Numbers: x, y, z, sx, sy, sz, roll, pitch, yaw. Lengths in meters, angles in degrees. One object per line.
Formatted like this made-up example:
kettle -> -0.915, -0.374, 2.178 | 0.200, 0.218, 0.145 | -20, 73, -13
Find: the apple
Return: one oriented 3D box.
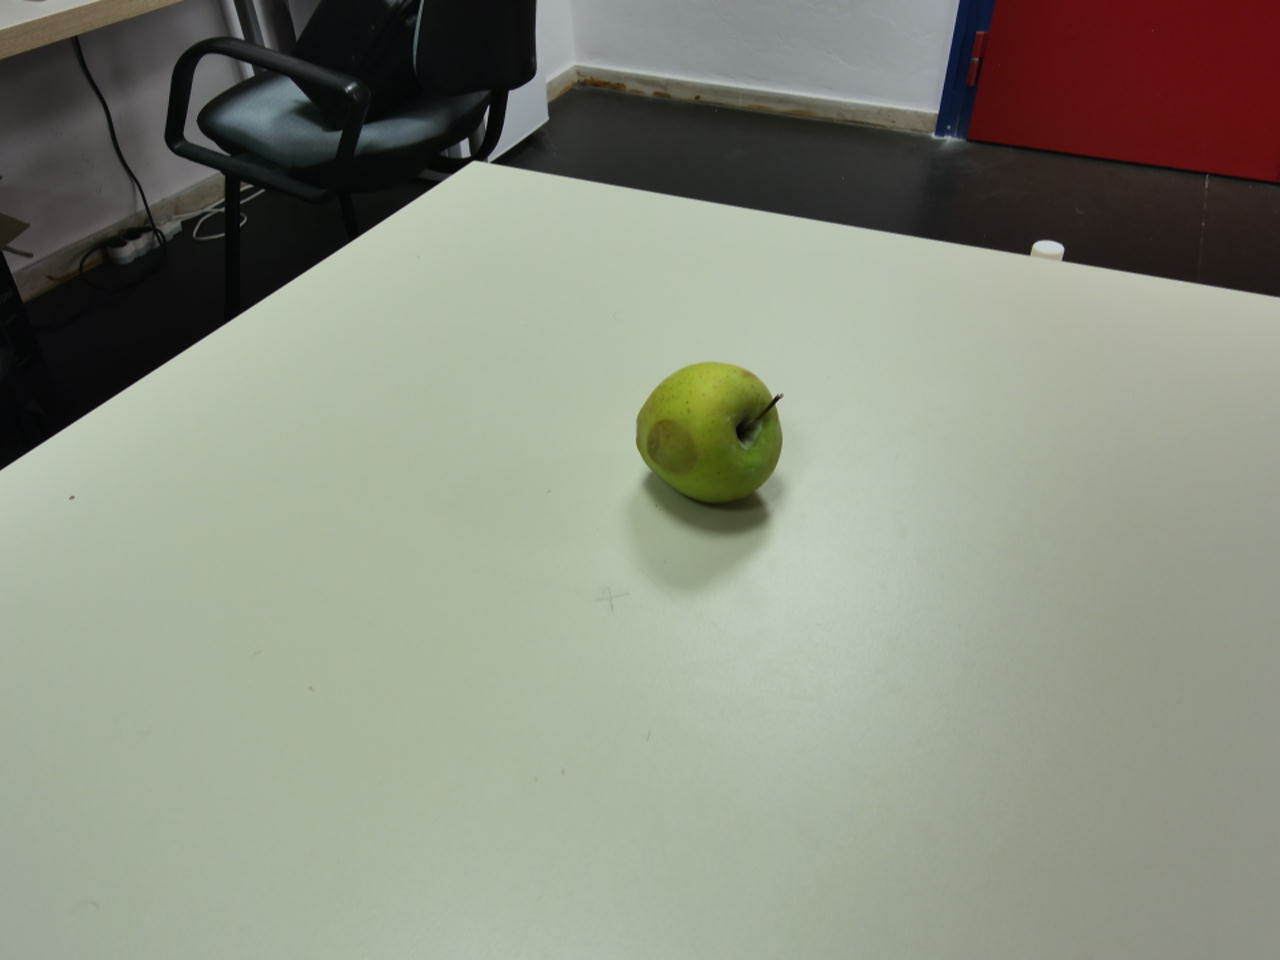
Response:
apple -> 0.037, -0.027, 0.528 | 0.072, 0.075, 0.077 | -12, 40, -16
